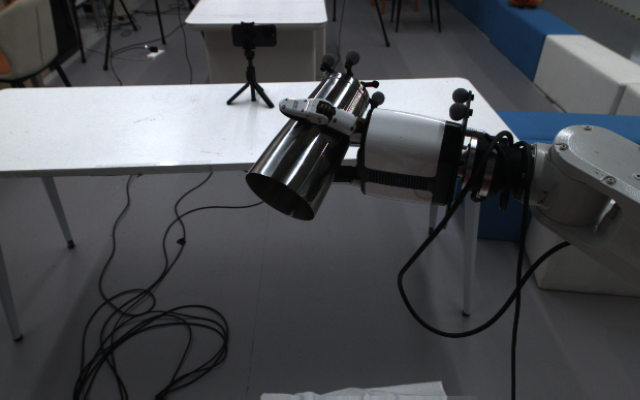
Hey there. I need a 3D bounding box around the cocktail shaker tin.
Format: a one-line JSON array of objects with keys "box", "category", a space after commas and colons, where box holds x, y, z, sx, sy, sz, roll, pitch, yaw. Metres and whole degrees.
[{"box": [-0.004, -0.075, 0.583, 0.093, 0.093, 0.170, 20, 67, 24], "category": "cocktail shaker tin"}]
